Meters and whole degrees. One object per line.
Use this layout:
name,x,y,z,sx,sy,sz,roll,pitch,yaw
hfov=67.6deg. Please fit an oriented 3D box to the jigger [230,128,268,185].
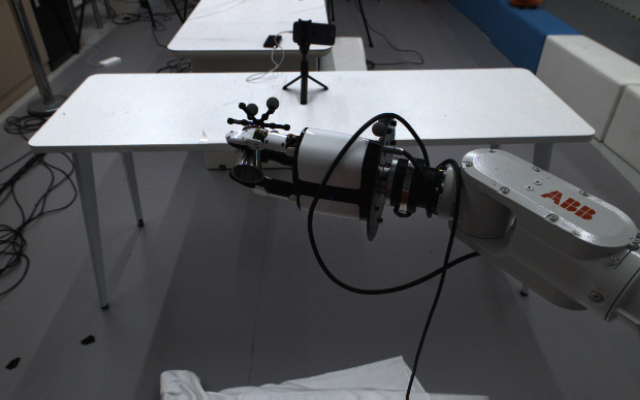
jigger,-0.094,-0.064,0.657,0.043,0.043,0.071,5,60,4
